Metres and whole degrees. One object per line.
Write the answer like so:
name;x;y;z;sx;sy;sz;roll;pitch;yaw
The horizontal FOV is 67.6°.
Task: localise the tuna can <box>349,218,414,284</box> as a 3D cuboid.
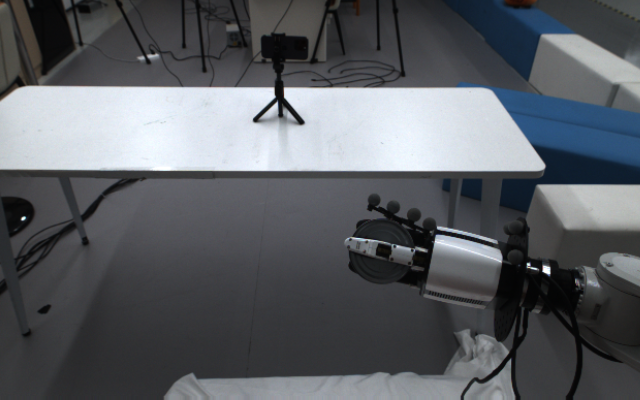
tuna can;0.085;0.067;0.641;0.085;0.085;0.034;14;-7;16
